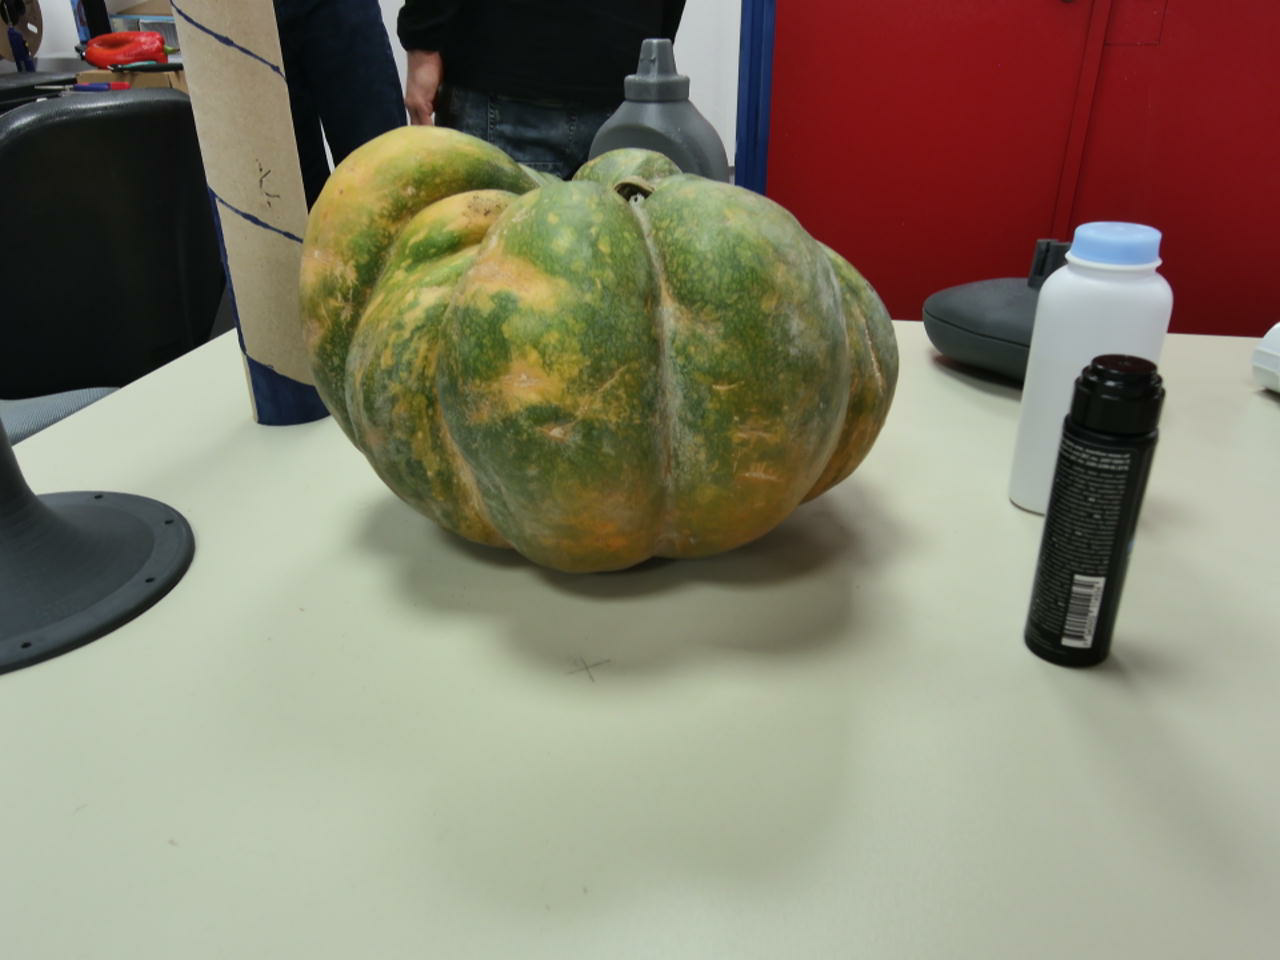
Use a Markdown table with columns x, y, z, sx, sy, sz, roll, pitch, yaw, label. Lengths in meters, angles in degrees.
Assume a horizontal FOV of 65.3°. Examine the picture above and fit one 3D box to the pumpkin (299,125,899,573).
| x | y | z | sx | sy | sz | roll | pitch | yaw | label |
| --- | --- | --- | --- | --- | --- | --- | --- | --- | --- |
| -0.018 | -0.066 | 0.445 | 0.237 | 0.173 | 0.270 | -19 | 31 | -36 | pumpkin |
